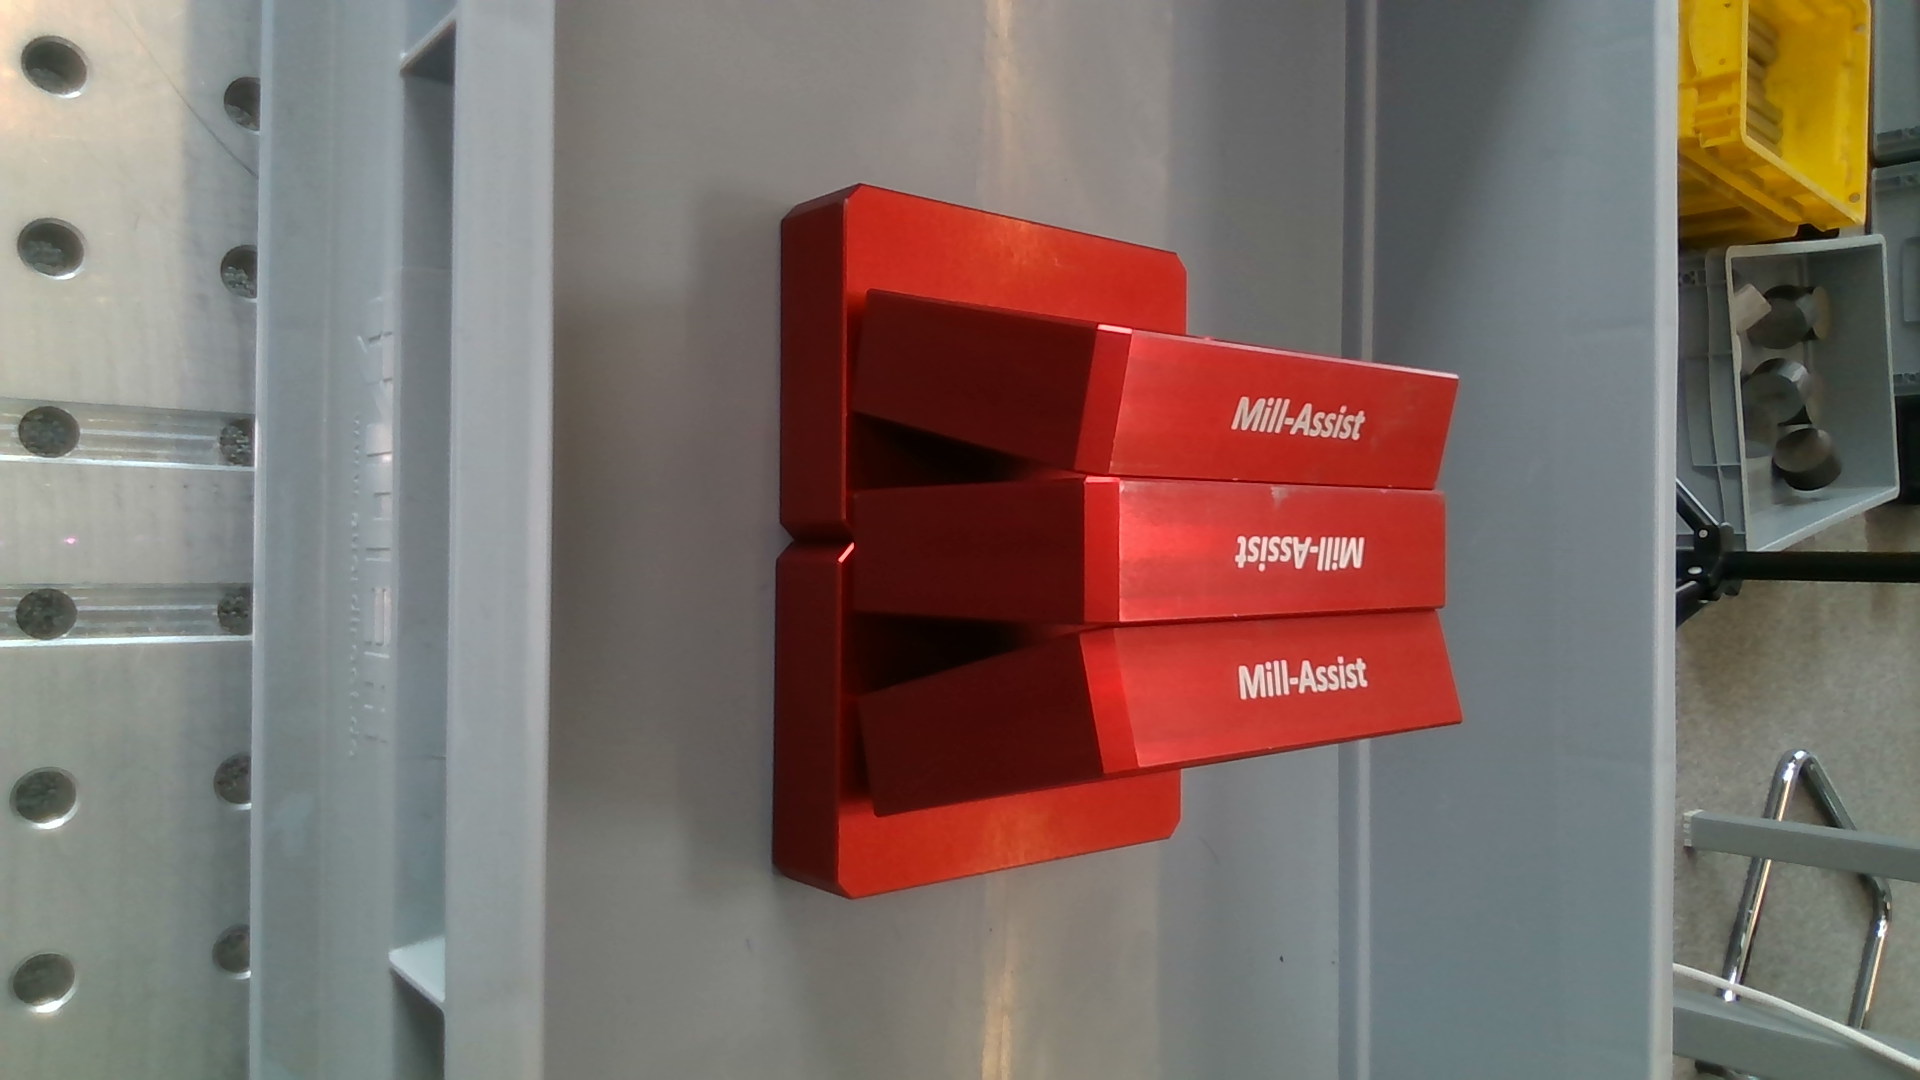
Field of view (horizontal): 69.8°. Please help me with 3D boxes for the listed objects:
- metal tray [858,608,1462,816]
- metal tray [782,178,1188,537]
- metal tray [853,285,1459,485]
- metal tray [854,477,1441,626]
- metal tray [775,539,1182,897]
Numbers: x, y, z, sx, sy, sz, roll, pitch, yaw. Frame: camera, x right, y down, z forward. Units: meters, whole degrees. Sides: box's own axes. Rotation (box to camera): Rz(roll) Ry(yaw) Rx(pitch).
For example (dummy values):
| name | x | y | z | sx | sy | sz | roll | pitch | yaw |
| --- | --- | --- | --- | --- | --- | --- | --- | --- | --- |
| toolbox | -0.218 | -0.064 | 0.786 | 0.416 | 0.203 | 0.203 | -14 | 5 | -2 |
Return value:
| name | x | y | z | sx | sy | sz | roll | pitch | yaw |
| --- | --- | --- | --- | --- | --- | --- | --- | --- | --- |
| metal tray | 0.052 | 0.043 | 0.349 | 0.130 | 0.090 | 0.030 | 0 | 75 | -40 |
| metal tray | 0.012 | -0.045 | 0.395 | 0.130 | 0.030 | 0.090 | 1 | 90 | -40 |
| metal tray | 0.051 | -0.038 | 0.347 | 0.130 | 0.090 | 0.030 | 0 | 102 | -40 |
| metal tray | 0.049 | 0.002 | 0.348 | 0.130 | 0.090 | 0.030 | 0 | 90 | -42 |
| metal tray | 0.010 | 0.045 | 0.395 | 0.130 | 0.030 | 0.090 | 1 | 90 | -40 |
